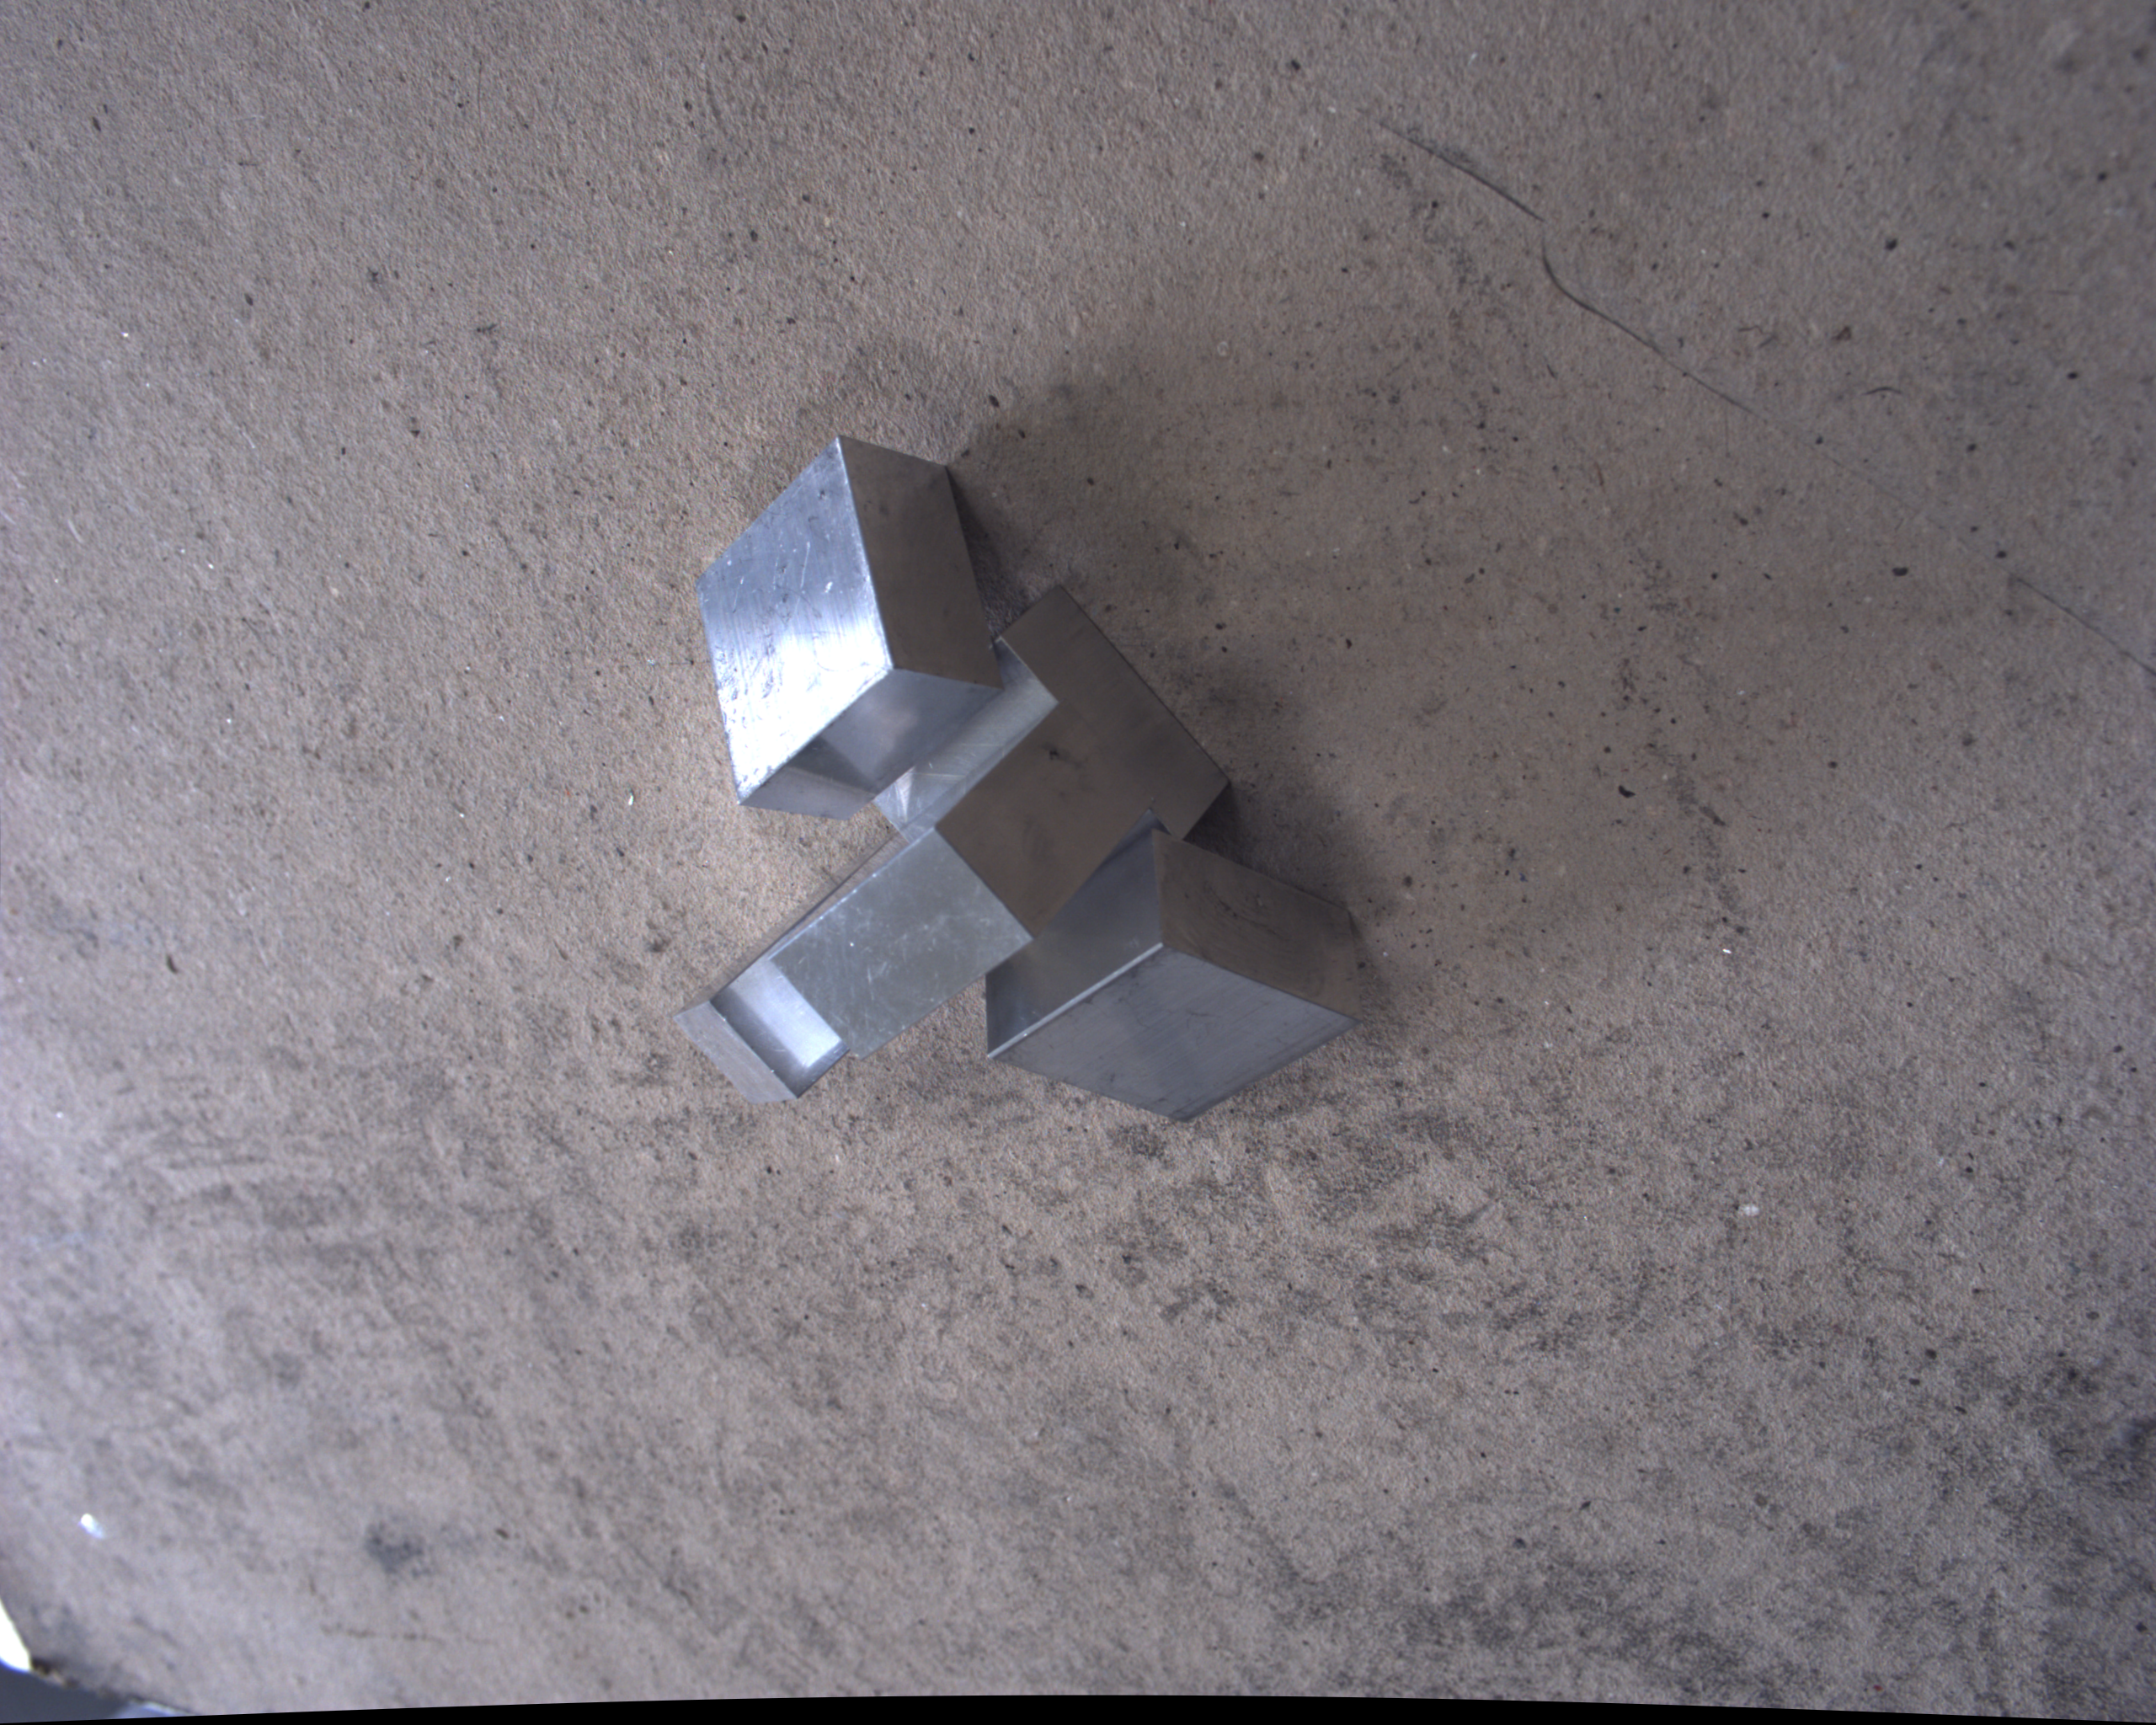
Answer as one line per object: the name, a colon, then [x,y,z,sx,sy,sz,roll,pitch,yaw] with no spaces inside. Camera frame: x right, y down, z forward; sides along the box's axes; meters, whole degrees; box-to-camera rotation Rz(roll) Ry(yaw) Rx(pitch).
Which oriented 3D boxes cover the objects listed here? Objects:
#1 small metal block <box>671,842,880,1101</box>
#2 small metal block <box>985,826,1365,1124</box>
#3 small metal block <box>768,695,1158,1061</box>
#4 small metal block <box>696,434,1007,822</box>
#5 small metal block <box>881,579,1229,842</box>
small metal block: [-0.051,0.022,0.421,0.025,0.050,0.050,49,161,-7]
small metal block: [0.018,0.023,0.397,0.050,0.025,0.050,22,139,-33]
small metal block: [-0.020,0.003,0.372,0.025,0.050,0.050,49,129,-7]
small metal block: [-0.044,-0.042,0.389,0.050,0.025,0.050,-36,58,39]
small metal block: [-0.009,-0.018,0.403,0.050,0.025,0.050,49,131,-6]
